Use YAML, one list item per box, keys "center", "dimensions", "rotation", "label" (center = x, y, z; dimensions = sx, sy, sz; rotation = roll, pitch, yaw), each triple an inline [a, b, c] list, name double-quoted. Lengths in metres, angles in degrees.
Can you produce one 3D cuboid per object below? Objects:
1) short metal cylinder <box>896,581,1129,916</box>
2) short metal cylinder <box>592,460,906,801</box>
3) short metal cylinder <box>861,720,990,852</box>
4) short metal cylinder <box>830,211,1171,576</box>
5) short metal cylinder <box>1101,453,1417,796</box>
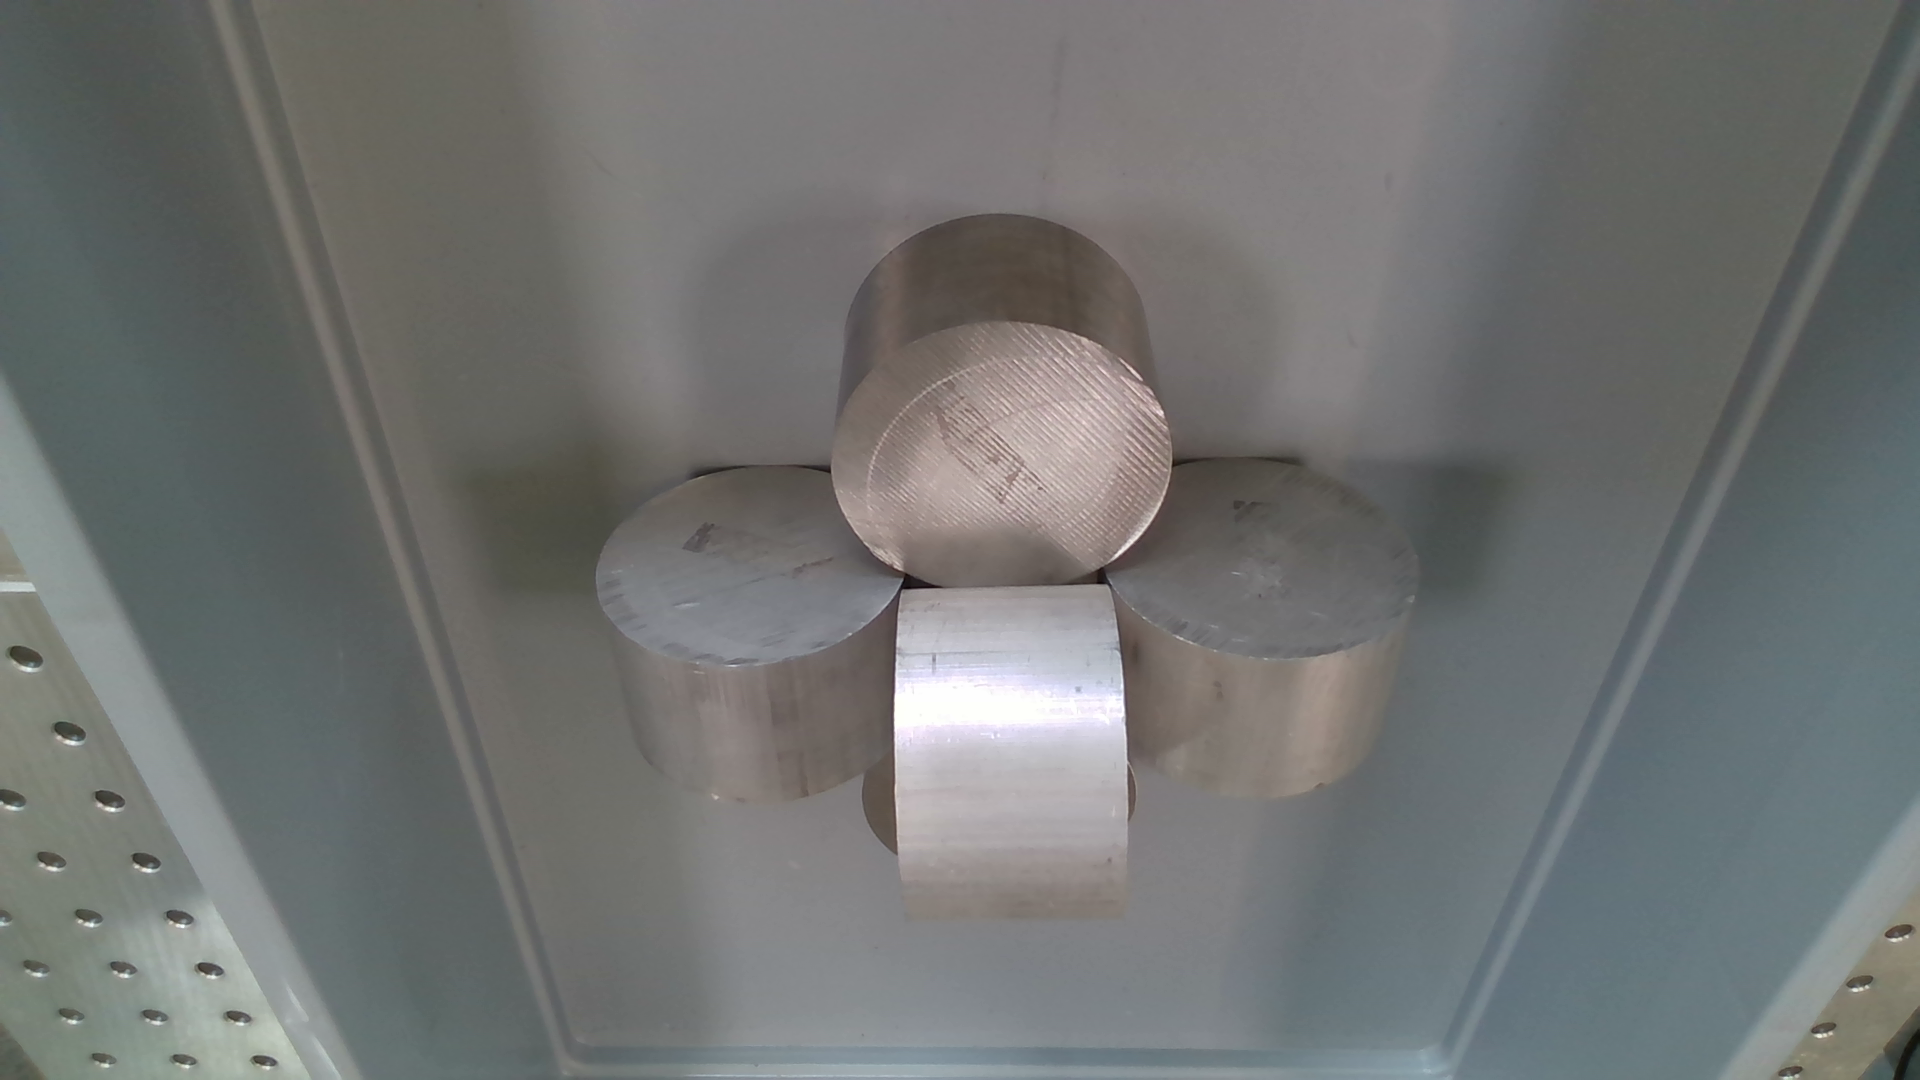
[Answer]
- center: [0.012, 0.050, 0.336]
  dimensions: [0.050, 0.080, 0.080]
  rotation: [-1, 130, 1]
  label: "short metal cylinder"
- center: [-0.053, 0.023, 0.370]
  dimensions: [0.080, 0.080, 0.050]
  rotation: [-1, 131, 1]
  label: "short metal cylinder"
- center: [0.011, 0.059, 0.420]
  dimensions: [0.080, 0.050, 0.080]
  rotation: [0, 130, 0]
  label: "short metal cylinder"
- center: [0.010, -0.033, 0.343]
  dimensions: [0.080, 0.050, 0.080]
  rotation: [0, 130, 0]
  label: "short metal cylinder"
- center: [0.076, 0.021, 0.369]
  dimensions: [0.080, 0.080, 0.050]
  rotation: [-1, 131, 1]
  label: "short metal cylinder"
